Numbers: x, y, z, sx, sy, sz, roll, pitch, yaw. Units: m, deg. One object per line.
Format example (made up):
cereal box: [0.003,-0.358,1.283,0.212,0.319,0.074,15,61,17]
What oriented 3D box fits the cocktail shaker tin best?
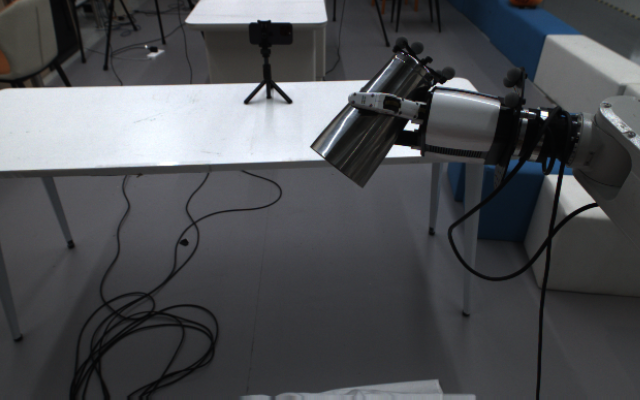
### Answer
cocktail shaker tin: [0.076,-0.114,0.654,0.170,0.093,0.093,-50,46,4]
